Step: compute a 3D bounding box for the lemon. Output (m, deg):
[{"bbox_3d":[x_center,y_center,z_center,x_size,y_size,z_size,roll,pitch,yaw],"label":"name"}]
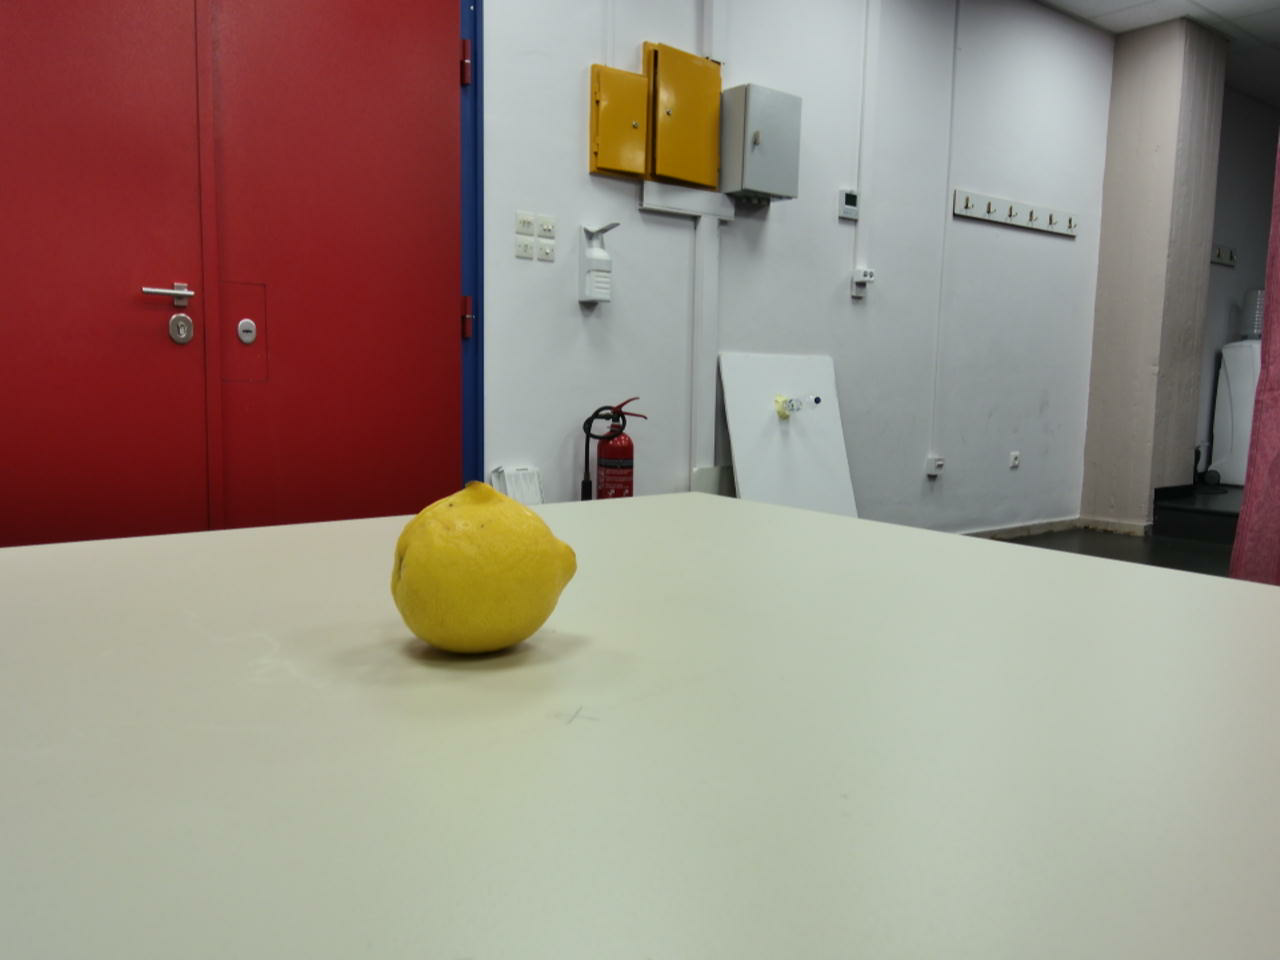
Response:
[{"bbox_3d":[-0.069,0.036,0.421,0.071,0.071,0.070,1,4,18],"label":"lemon"}]
